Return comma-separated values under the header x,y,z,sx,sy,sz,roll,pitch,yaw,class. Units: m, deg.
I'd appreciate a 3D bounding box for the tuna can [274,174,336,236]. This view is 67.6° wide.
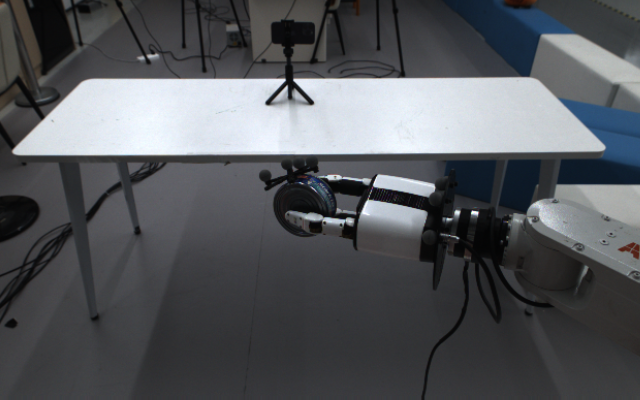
x,y,z,sx,sy,sz,roll,pitch,yaw,class
-0.020,0.007,0.680,0.085,0.085,0.034,15,29,17,tuna can
